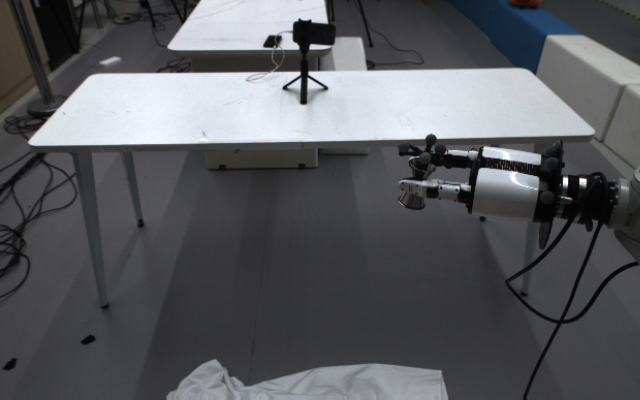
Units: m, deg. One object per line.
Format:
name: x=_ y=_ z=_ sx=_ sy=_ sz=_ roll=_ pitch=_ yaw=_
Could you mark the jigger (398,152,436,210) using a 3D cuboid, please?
jigger: x=0.149 y=-0.025 z=0.750 sx=0.043 sy=0.071 sz=0.043 roll=9 pitch=30 yaw=-5
